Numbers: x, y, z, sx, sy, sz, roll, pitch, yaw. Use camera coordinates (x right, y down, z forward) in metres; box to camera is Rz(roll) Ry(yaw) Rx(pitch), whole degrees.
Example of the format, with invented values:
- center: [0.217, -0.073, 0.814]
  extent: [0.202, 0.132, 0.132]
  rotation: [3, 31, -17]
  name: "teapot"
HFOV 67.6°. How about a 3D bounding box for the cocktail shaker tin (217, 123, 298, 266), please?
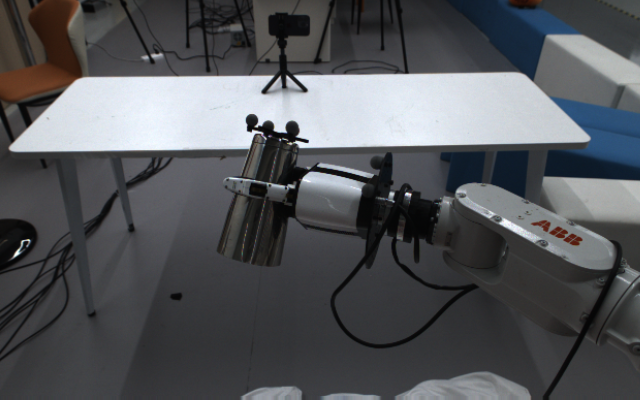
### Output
- center: [-0.082, -0.002, 0.680]
  extent: [0.093, 0.170, 0.093]
  rotation: [14, 2, 0]
  name: "cocktail shaker tin"
